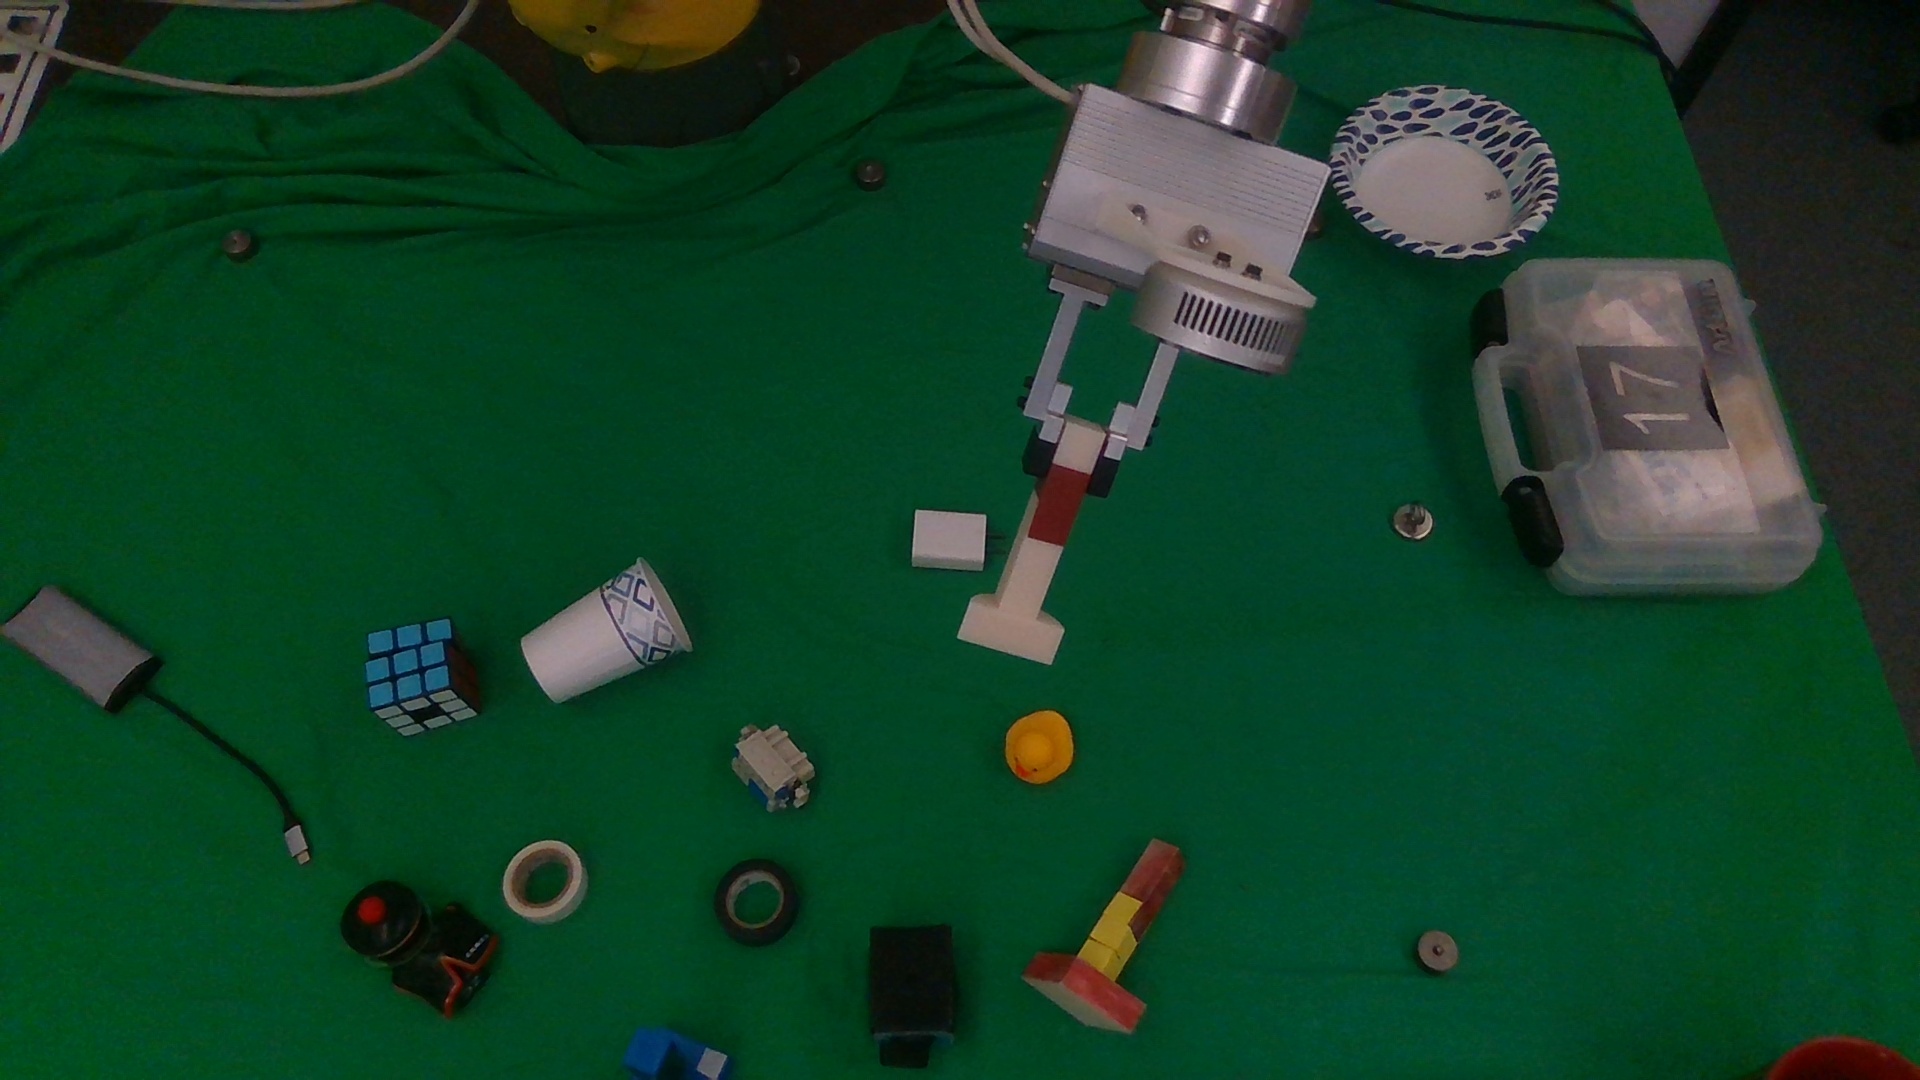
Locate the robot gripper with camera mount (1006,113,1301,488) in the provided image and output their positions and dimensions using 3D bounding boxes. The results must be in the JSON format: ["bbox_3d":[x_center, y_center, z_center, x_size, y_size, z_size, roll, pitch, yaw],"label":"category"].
[{"bbox_3d":[0.080,-0.081,0.583,0.119,0.193,0.158,17,106,-9],"label":"robot gripper with camera mount"}]

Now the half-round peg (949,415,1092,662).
[{"bbox_3d":[0.034,-0.001,0.673,0.054,0.122,0.031,12,22,-18],"label":"half-round peg"}]
